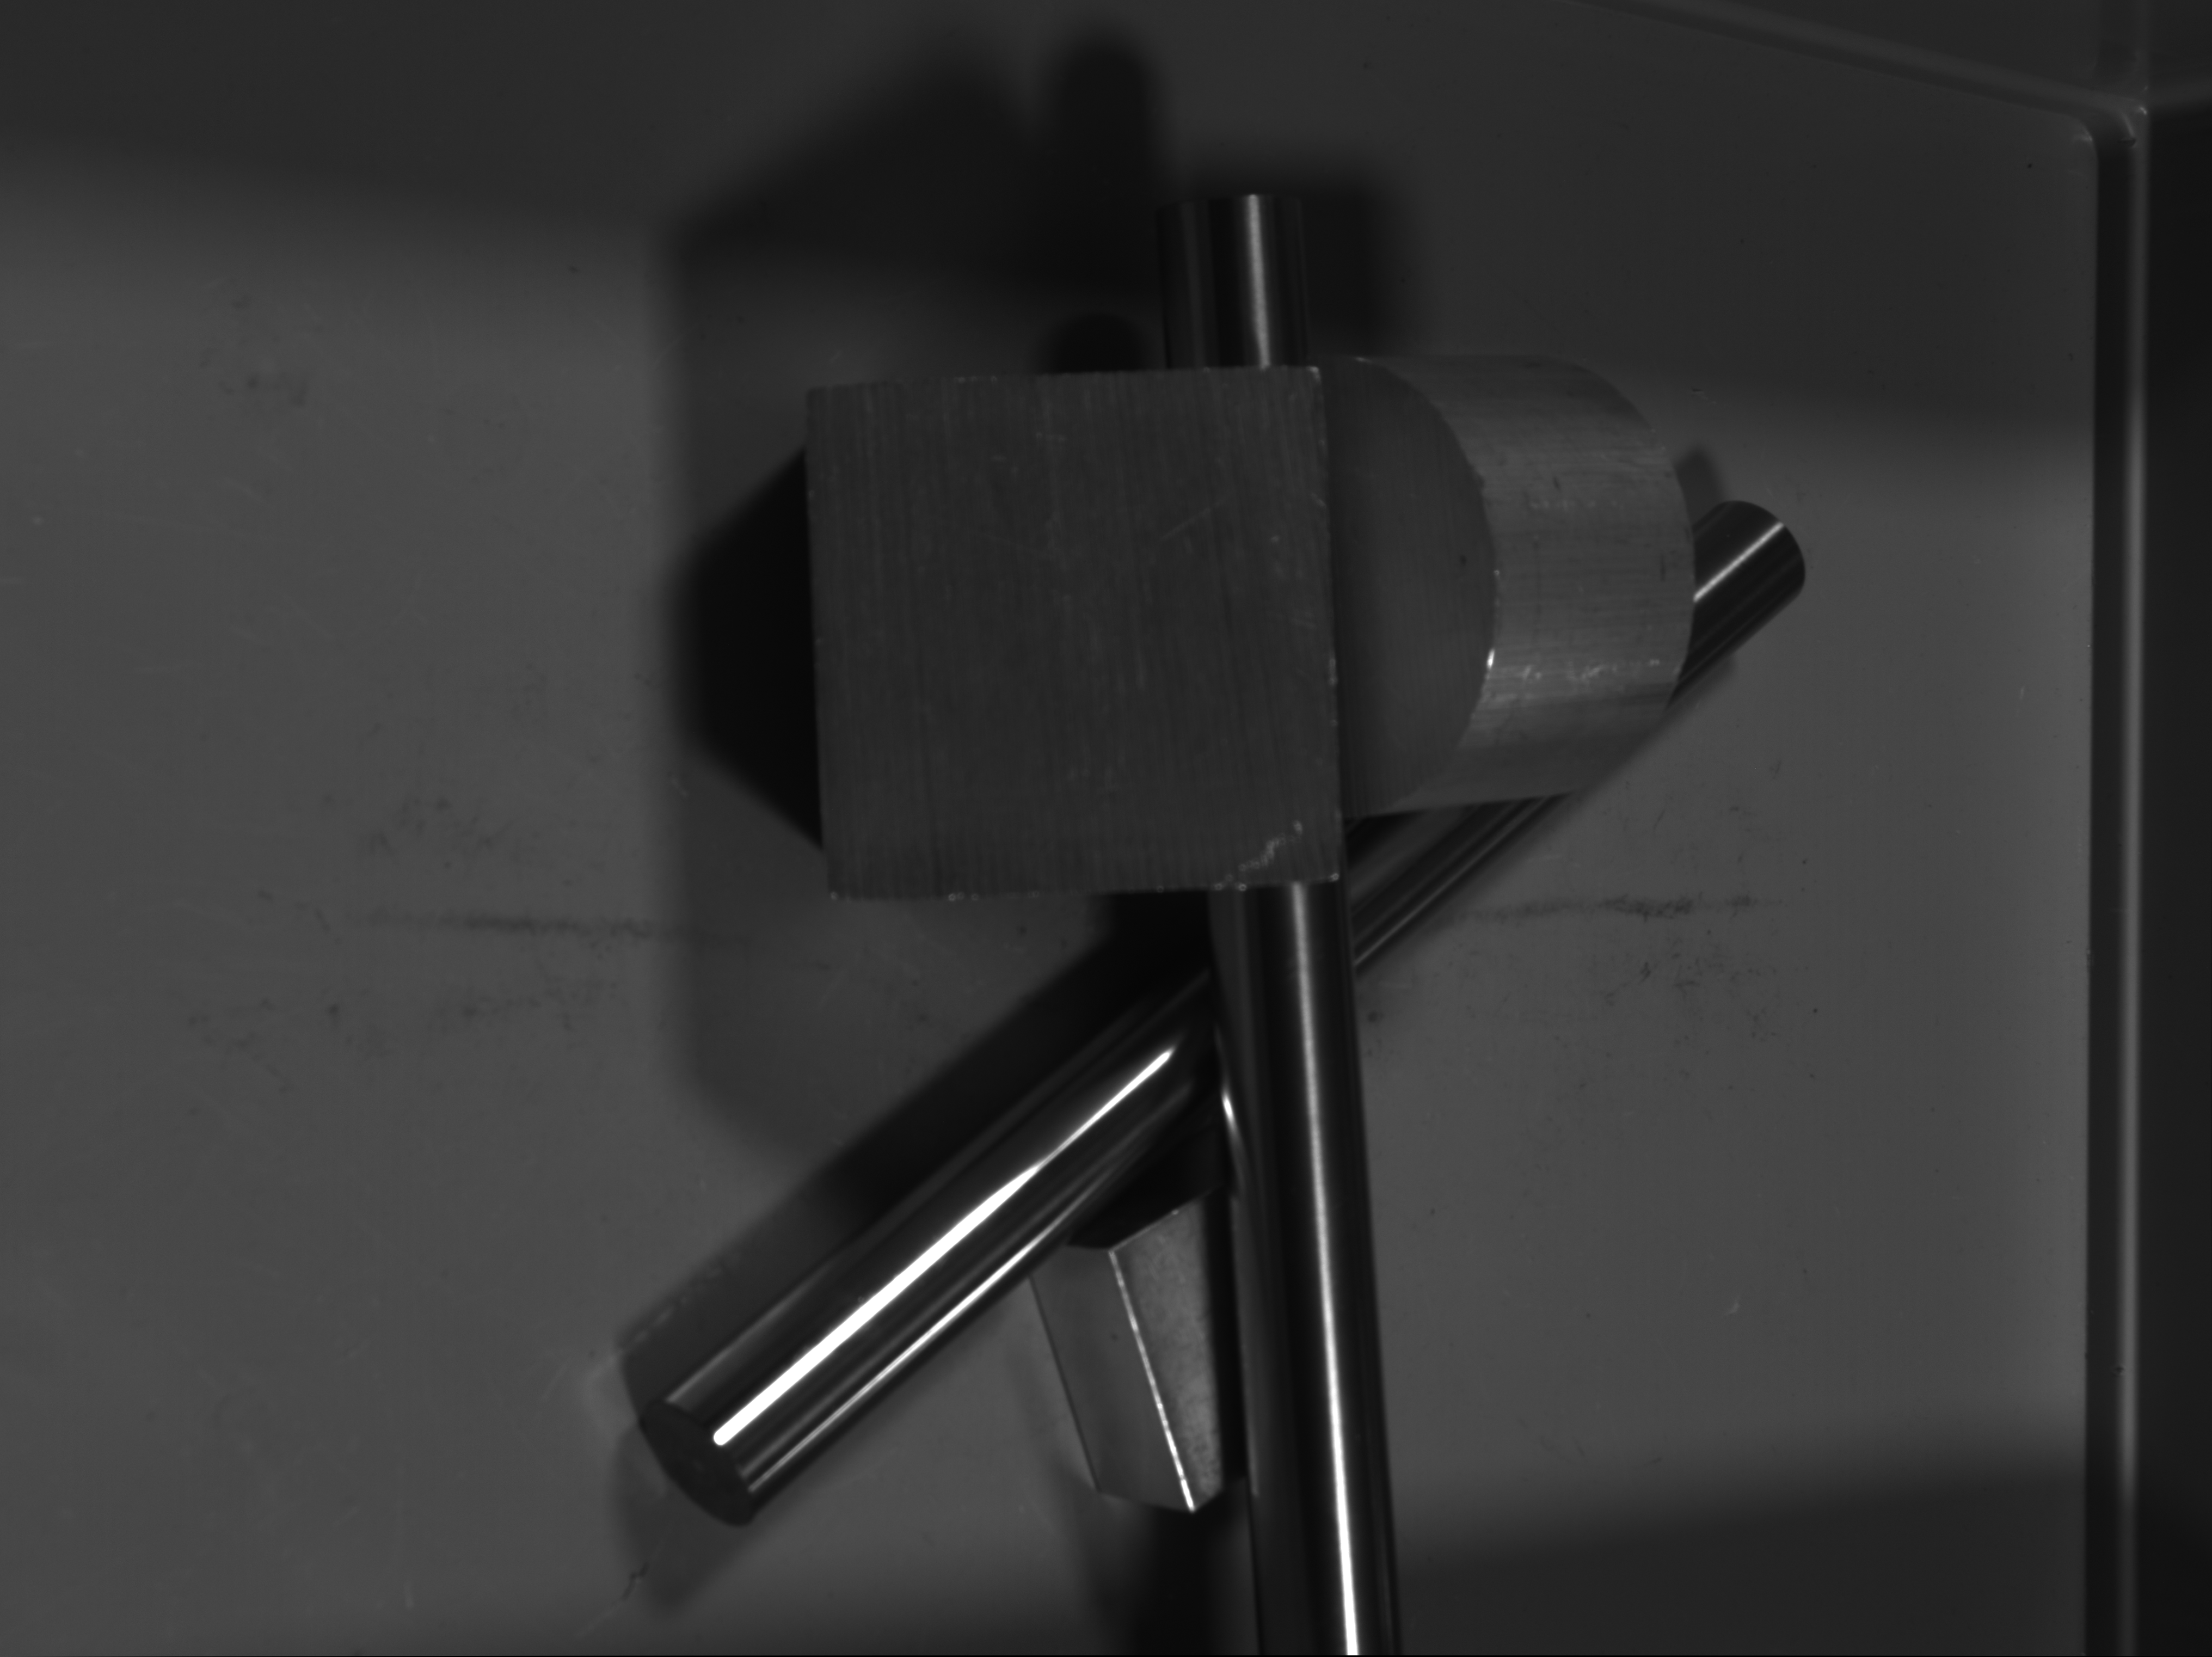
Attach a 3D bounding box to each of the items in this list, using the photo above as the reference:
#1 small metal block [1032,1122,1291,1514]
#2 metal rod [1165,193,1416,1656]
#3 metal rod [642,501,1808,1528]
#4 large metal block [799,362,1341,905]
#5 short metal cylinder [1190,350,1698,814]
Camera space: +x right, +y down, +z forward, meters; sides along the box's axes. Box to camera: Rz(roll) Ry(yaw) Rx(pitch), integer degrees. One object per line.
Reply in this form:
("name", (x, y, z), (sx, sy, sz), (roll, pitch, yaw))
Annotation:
("small metal block", (0.017, 0.086, 0.650), (0.050, 0.025, 0.050), (-27, 107, -37))
("metal rod", (0.034, 0.043, 0.630), (0.025, 0.025, 0.300), (-6, 93, -40))
("metal rod", (0.034, 0.023, 0.663), (0.300, 0.025, 0.025), (-38, 113, -33))
("large metal block", (-0.005, -0.031, 0.590), (0.080, 0.050, 0.080), (-3, 92, 1))
("short metal cylinder", (0.057, -0.044, 0.647), (0.050, 0.080, 0.080), (-6, 94, -41))
